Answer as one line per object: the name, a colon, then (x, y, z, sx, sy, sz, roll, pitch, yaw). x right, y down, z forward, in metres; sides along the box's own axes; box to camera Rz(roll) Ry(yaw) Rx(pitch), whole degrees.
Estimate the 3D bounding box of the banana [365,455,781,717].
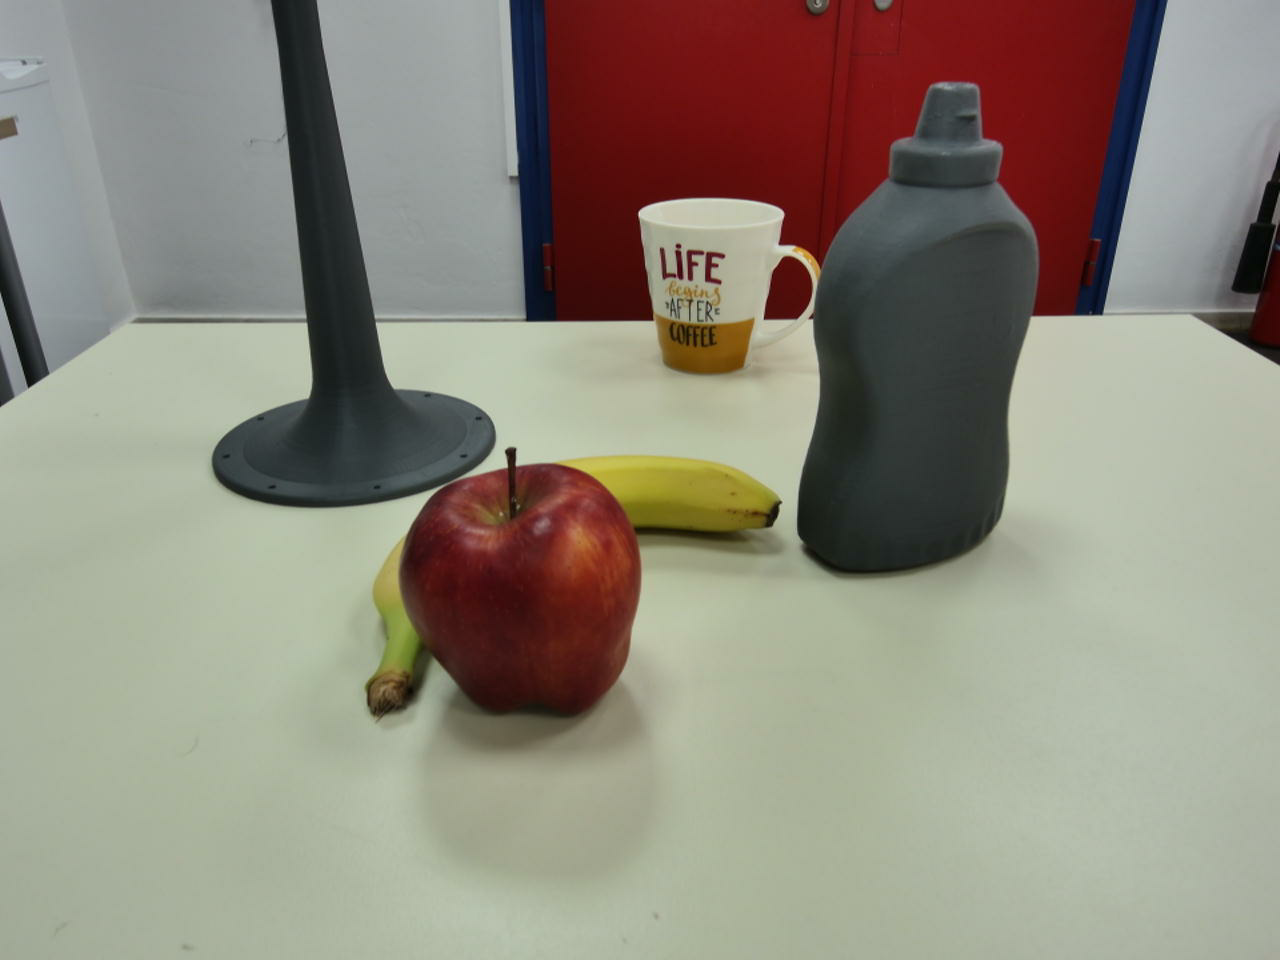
banana: (-0.039, 0.025, 0.422, 0.196, 0.041, 0.094, -17, 29, -32)
